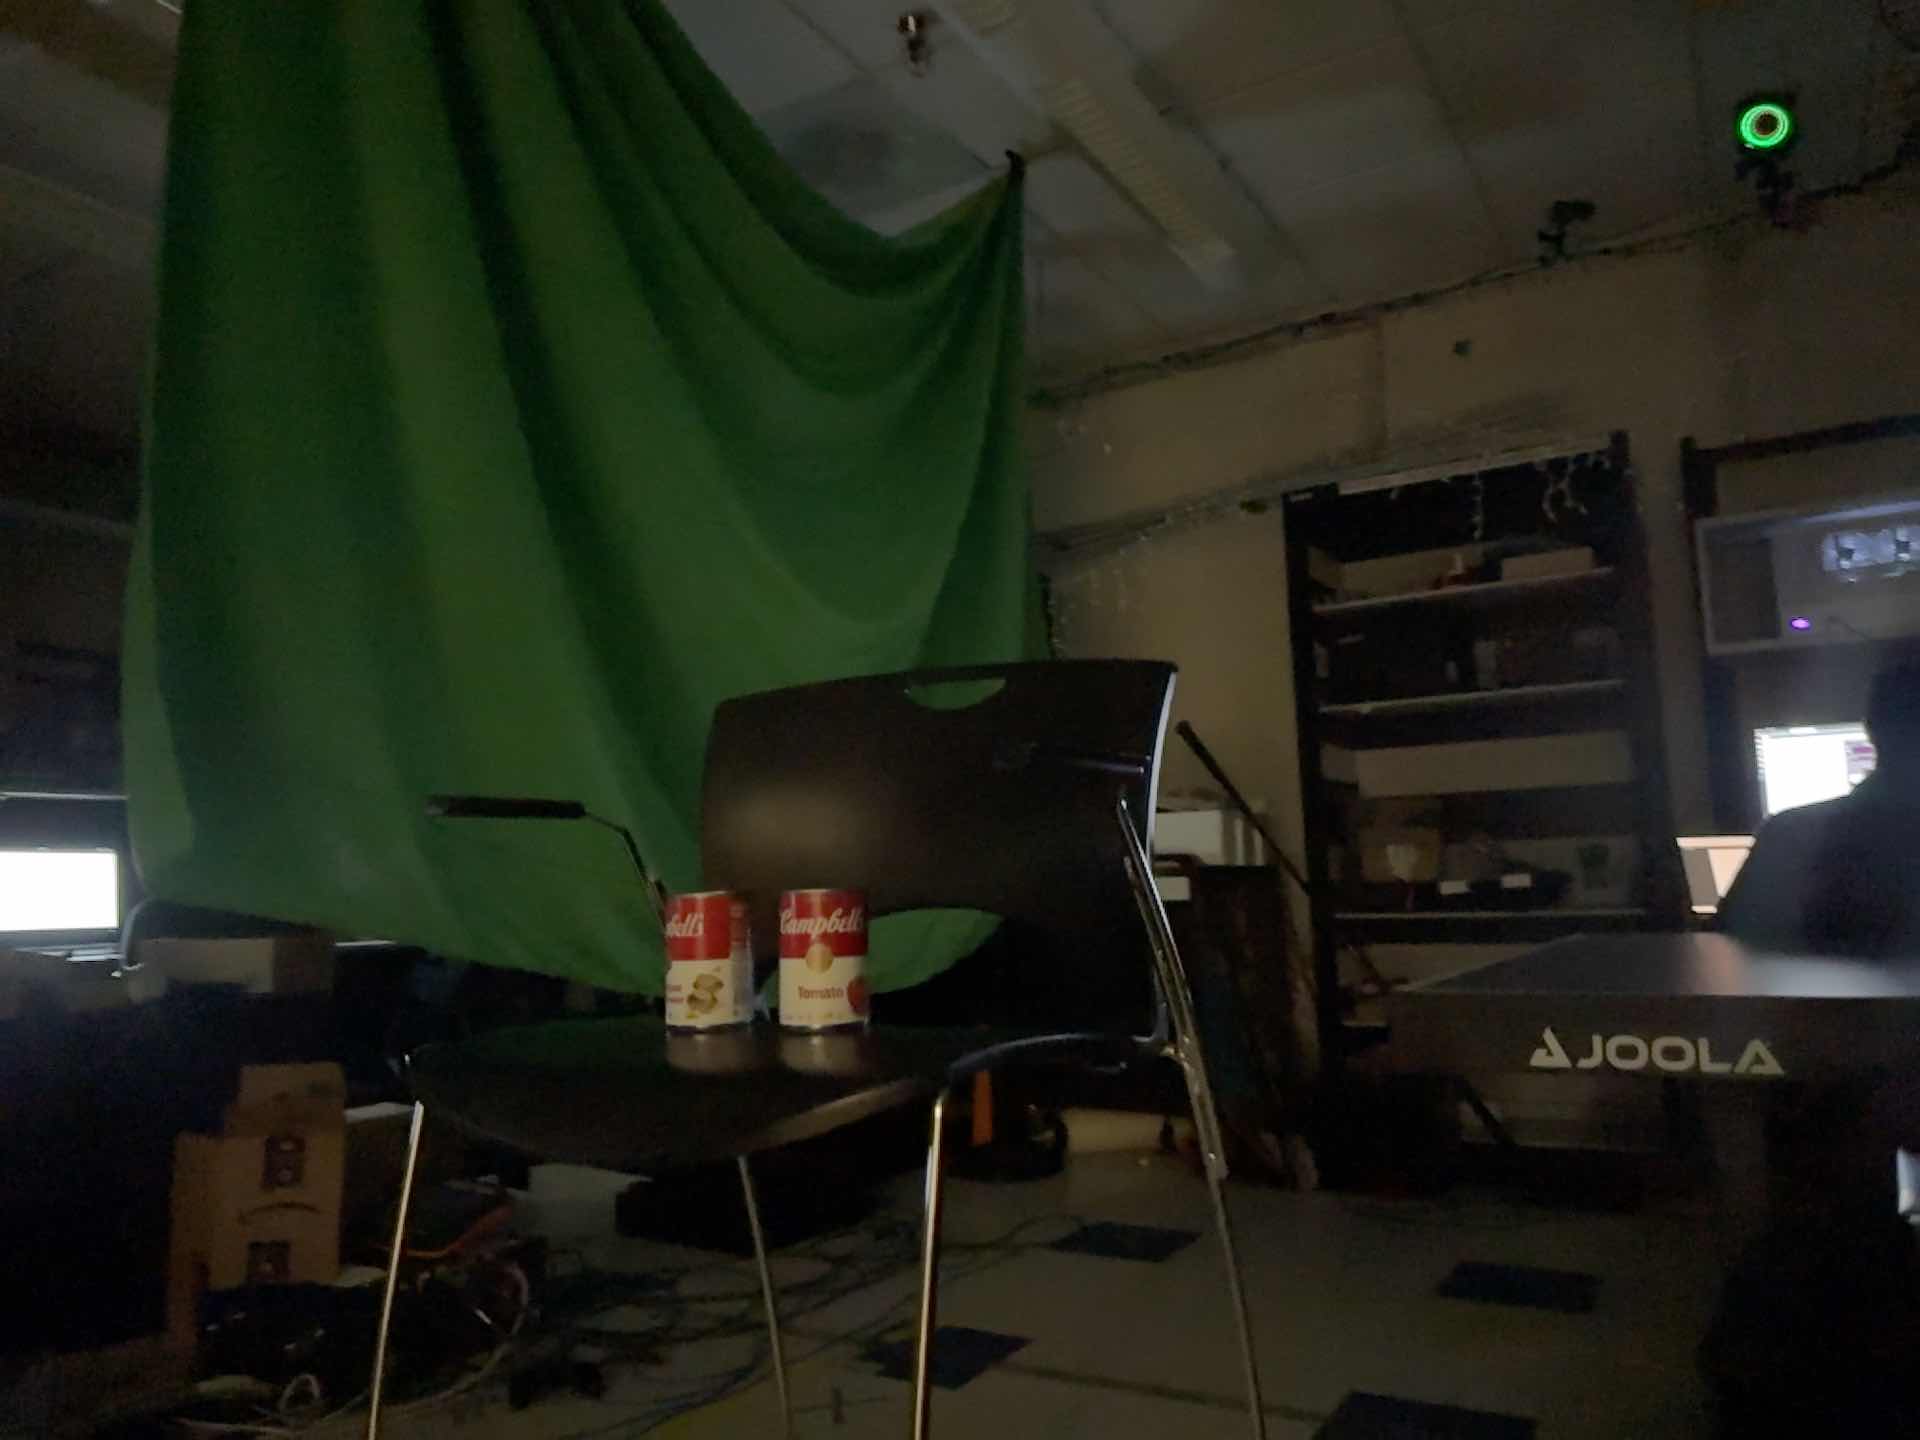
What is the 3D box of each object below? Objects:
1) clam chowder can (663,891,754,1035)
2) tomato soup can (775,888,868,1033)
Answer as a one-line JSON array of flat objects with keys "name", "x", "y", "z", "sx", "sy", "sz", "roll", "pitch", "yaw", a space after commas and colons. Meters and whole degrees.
[{"name": "clam chowder can", "x": -0.194, "y": 0.185, "z": 1.037, "sx": 0.068, "sy": 0.102, "sz": 0.068, "roll": 0, "pitch": -3, "yaw": 0}, {"name": "tomato soup can", "x": -0.103, "y": 0.175, "z": 0.992, "sx": 0.067, "sy": 0.102, "sz": 0.067, "roll": 0, "pitch": -4, "yaw": 0}]
